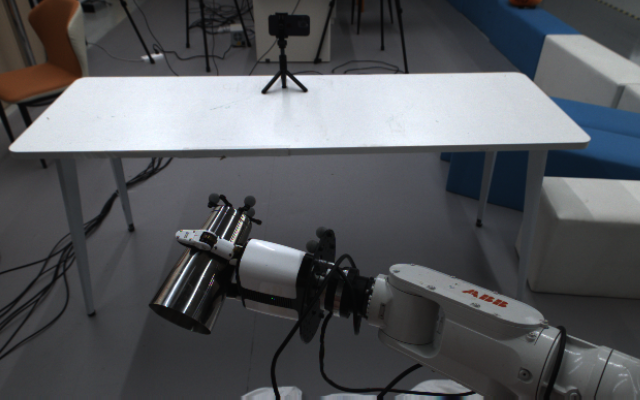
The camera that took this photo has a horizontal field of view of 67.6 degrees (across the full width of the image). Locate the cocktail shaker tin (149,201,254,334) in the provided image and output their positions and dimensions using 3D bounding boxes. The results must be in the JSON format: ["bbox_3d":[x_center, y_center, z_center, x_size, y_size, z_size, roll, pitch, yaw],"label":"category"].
[{"bbox_3d":[-0.164,0.094,0.696,0.093,0.093,0.170,13,58,16],"label":"cocktail shaker tin"}]
